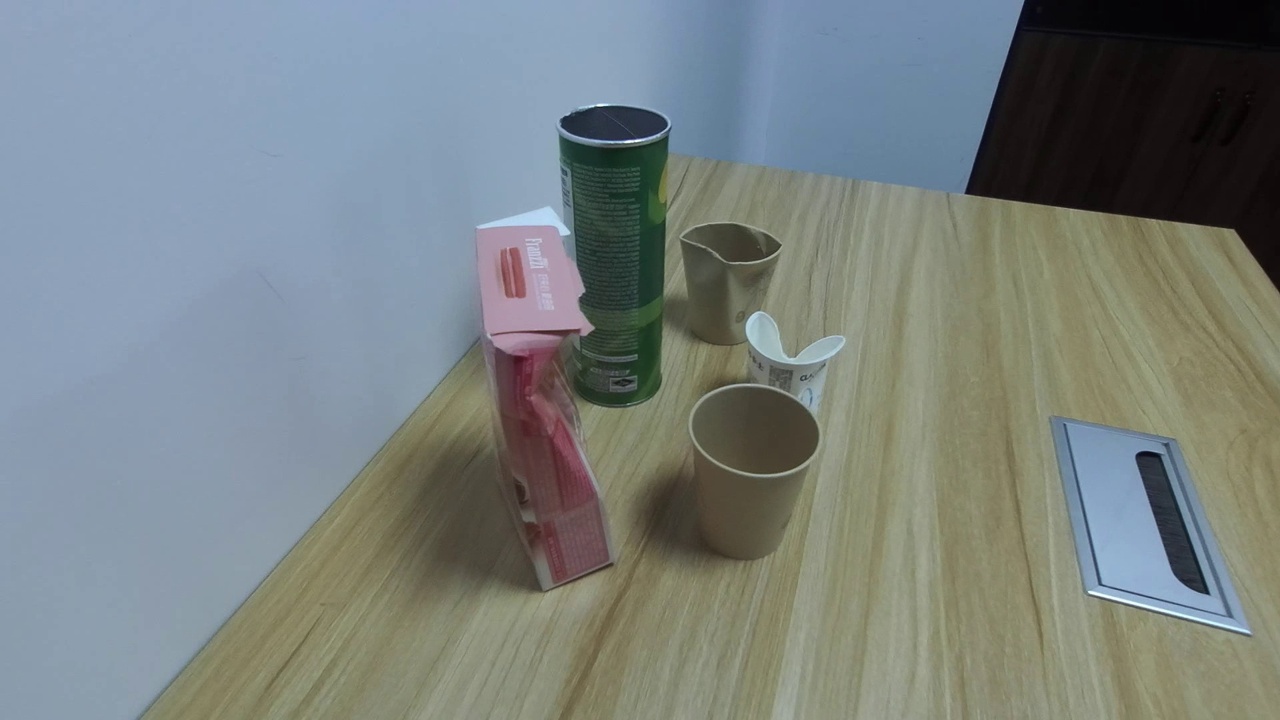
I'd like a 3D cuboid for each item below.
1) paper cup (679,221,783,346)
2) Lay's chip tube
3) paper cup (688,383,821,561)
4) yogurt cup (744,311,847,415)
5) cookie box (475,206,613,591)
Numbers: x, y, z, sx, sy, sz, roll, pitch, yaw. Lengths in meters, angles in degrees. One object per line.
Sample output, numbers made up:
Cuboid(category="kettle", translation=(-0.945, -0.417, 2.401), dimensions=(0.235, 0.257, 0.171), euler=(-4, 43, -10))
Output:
Cuboid(category="paper cup", translation=(0.072, -0.061, 0.580), dimensions=(0.066, 0.084, 0.071), euler=(-24, 43, -31))
Cuboid(category="Lay's chip tube", translation=(-0.016, -0.064, 0.485), dimensions=(0.071, 0.203, 0.071), euler=(1, 37, 0))
Cuboid(category="paper cup", translation=(0.063, 0.070, 0.414), dimensions=(0.075, 0.082, 0.075), euler=(2, 37, -1))
Cuboid(category="yogurt cup", translation=(0.103, 0.010, 0.500), dimensions=(0.067, 0.070, 0.067), euler=(2, 39, -1))
Cuboid(category="cookie box", translation=(-0.051, 0.029, 0.381), dimensions=(0.055, 0.184, 0.118), euler=(-10, 39, -14))
